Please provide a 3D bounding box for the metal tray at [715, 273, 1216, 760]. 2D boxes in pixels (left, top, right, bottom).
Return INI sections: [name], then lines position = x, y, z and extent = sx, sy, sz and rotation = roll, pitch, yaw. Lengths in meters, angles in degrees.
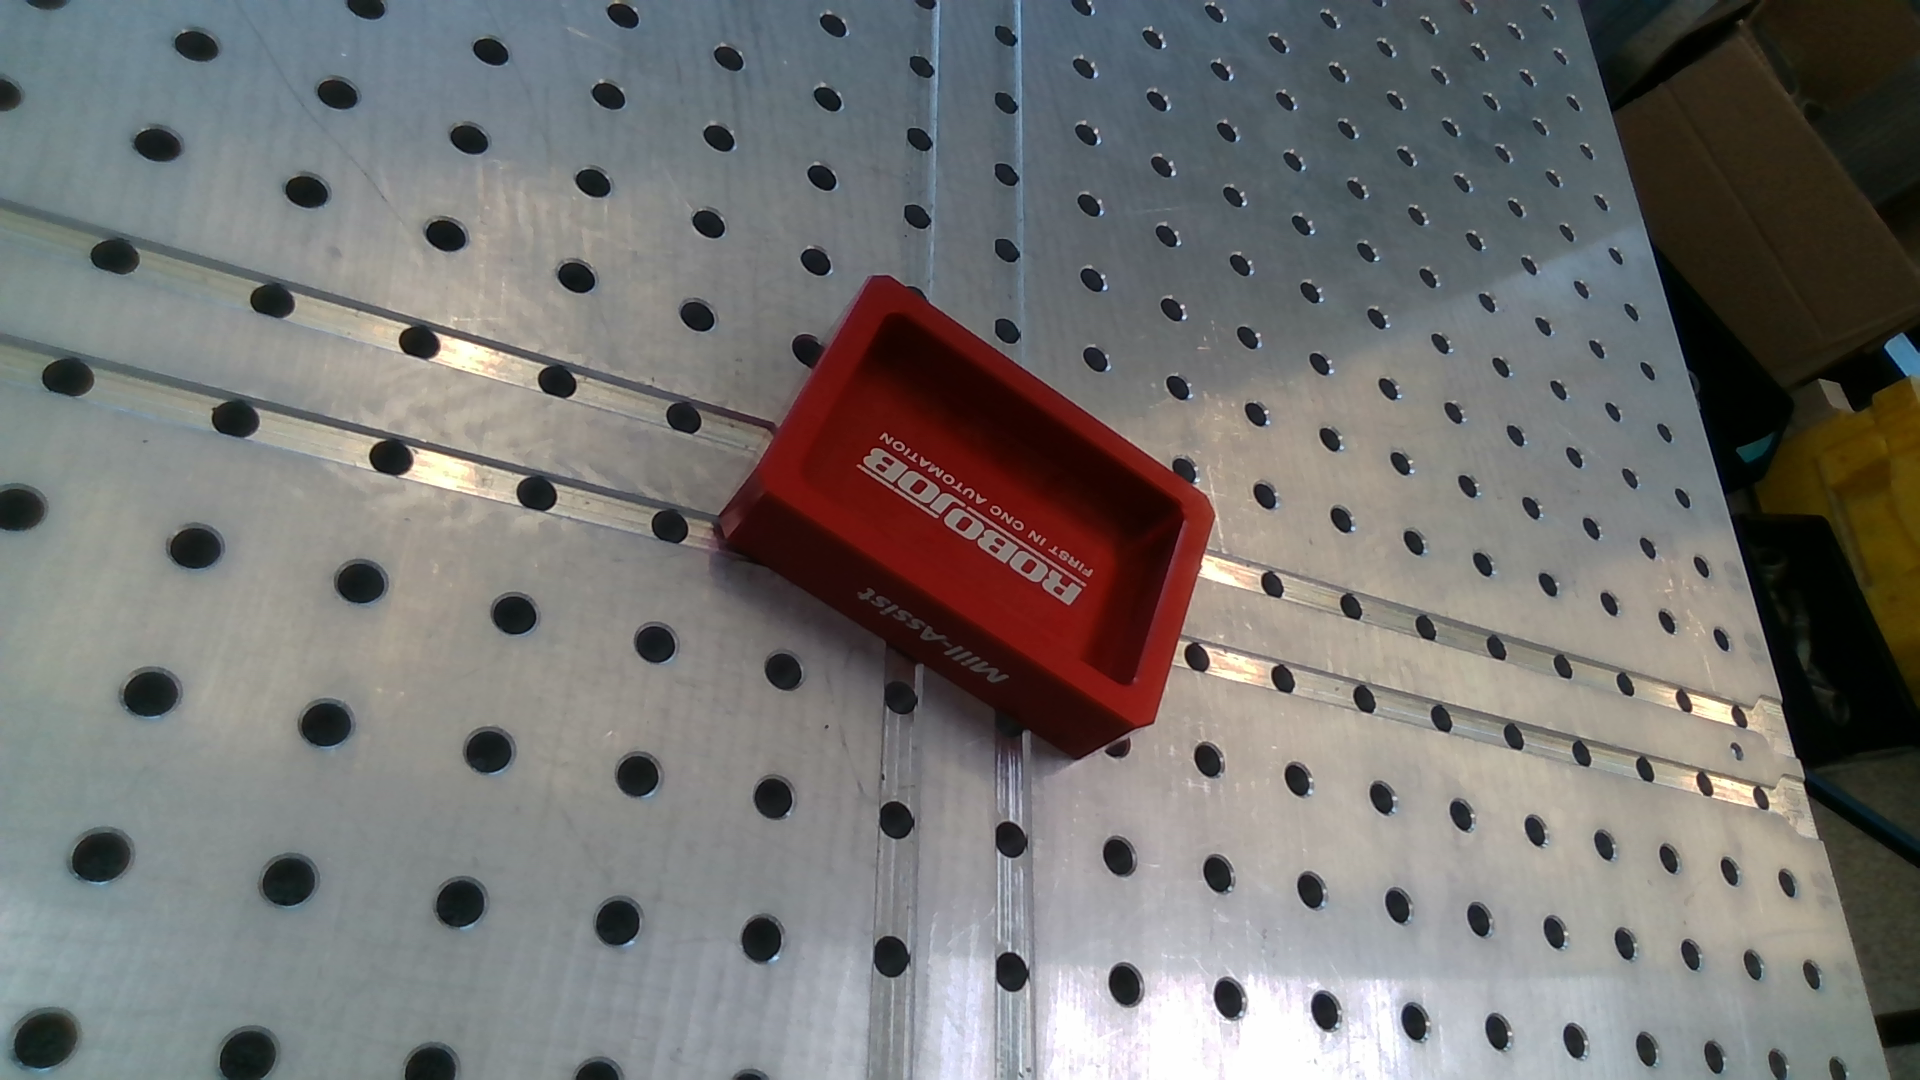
[metal tray]
position = 0.006, -0.007, 0.400
extent = 0.130, 0.030, 0.090
rotation = 33, 53, -12
